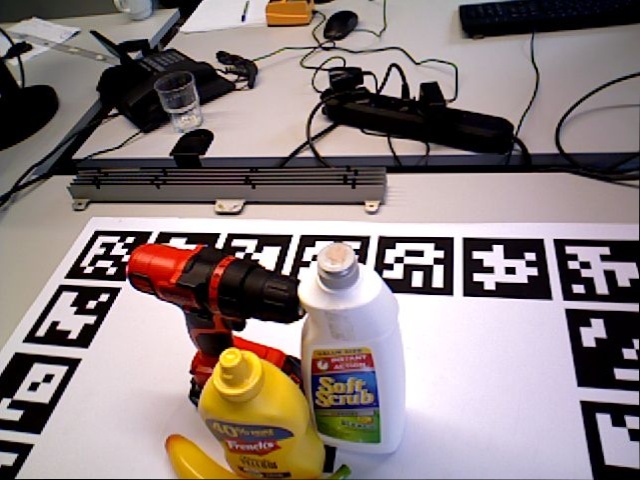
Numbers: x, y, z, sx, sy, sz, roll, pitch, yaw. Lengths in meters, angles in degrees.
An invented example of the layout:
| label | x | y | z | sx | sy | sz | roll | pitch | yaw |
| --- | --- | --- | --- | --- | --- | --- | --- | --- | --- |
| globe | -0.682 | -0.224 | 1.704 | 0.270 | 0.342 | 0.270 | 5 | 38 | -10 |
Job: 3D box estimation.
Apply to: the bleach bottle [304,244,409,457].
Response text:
| label | x | y | z | sx | sy | sz | roll | pitch | yaw |
| --- | --- | --- | --- | --- | --- | --- | --- | --- | --- |
| bleach bottle | 0.025 | 0.091 | 0.466 | 0.103 | 0.255 | 0.066 | 4 | 41 | 15 |

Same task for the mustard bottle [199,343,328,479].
| label | x | y | z | sx | sy | sz | roll | pitch | yaw |
| --- | --- | --- | --- | --- | --- | --- | --- | --- | --- |
| mustard bottle | -0.051 | 0.148 | 0.463 | 0.096 | 0.195 | 0.057 | 3 | 46 | 13 |

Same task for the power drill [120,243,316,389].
| label | x | y | z | sx | sy | sz | roll | pitch | yaw |
| --- | --- | --- | --- | --- | --- | --- | --- | --- | --- |
| power drill | -0.080 | 0.082 | 0.505 | 0.185 | 0.190 | 0.056 | 12 | 48 | 20 |

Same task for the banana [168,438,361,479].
| label | x | y | z | sx | sy | sz | roll | pitch | yaw |
| --- | --- | --- | --- | --- | --- | --- | --- | --- | --- |
| banana | -0.064 | 0.229 | 0.510 | 0.198 | 0.039 | 0.073 | 3 | 48 | 19 |
